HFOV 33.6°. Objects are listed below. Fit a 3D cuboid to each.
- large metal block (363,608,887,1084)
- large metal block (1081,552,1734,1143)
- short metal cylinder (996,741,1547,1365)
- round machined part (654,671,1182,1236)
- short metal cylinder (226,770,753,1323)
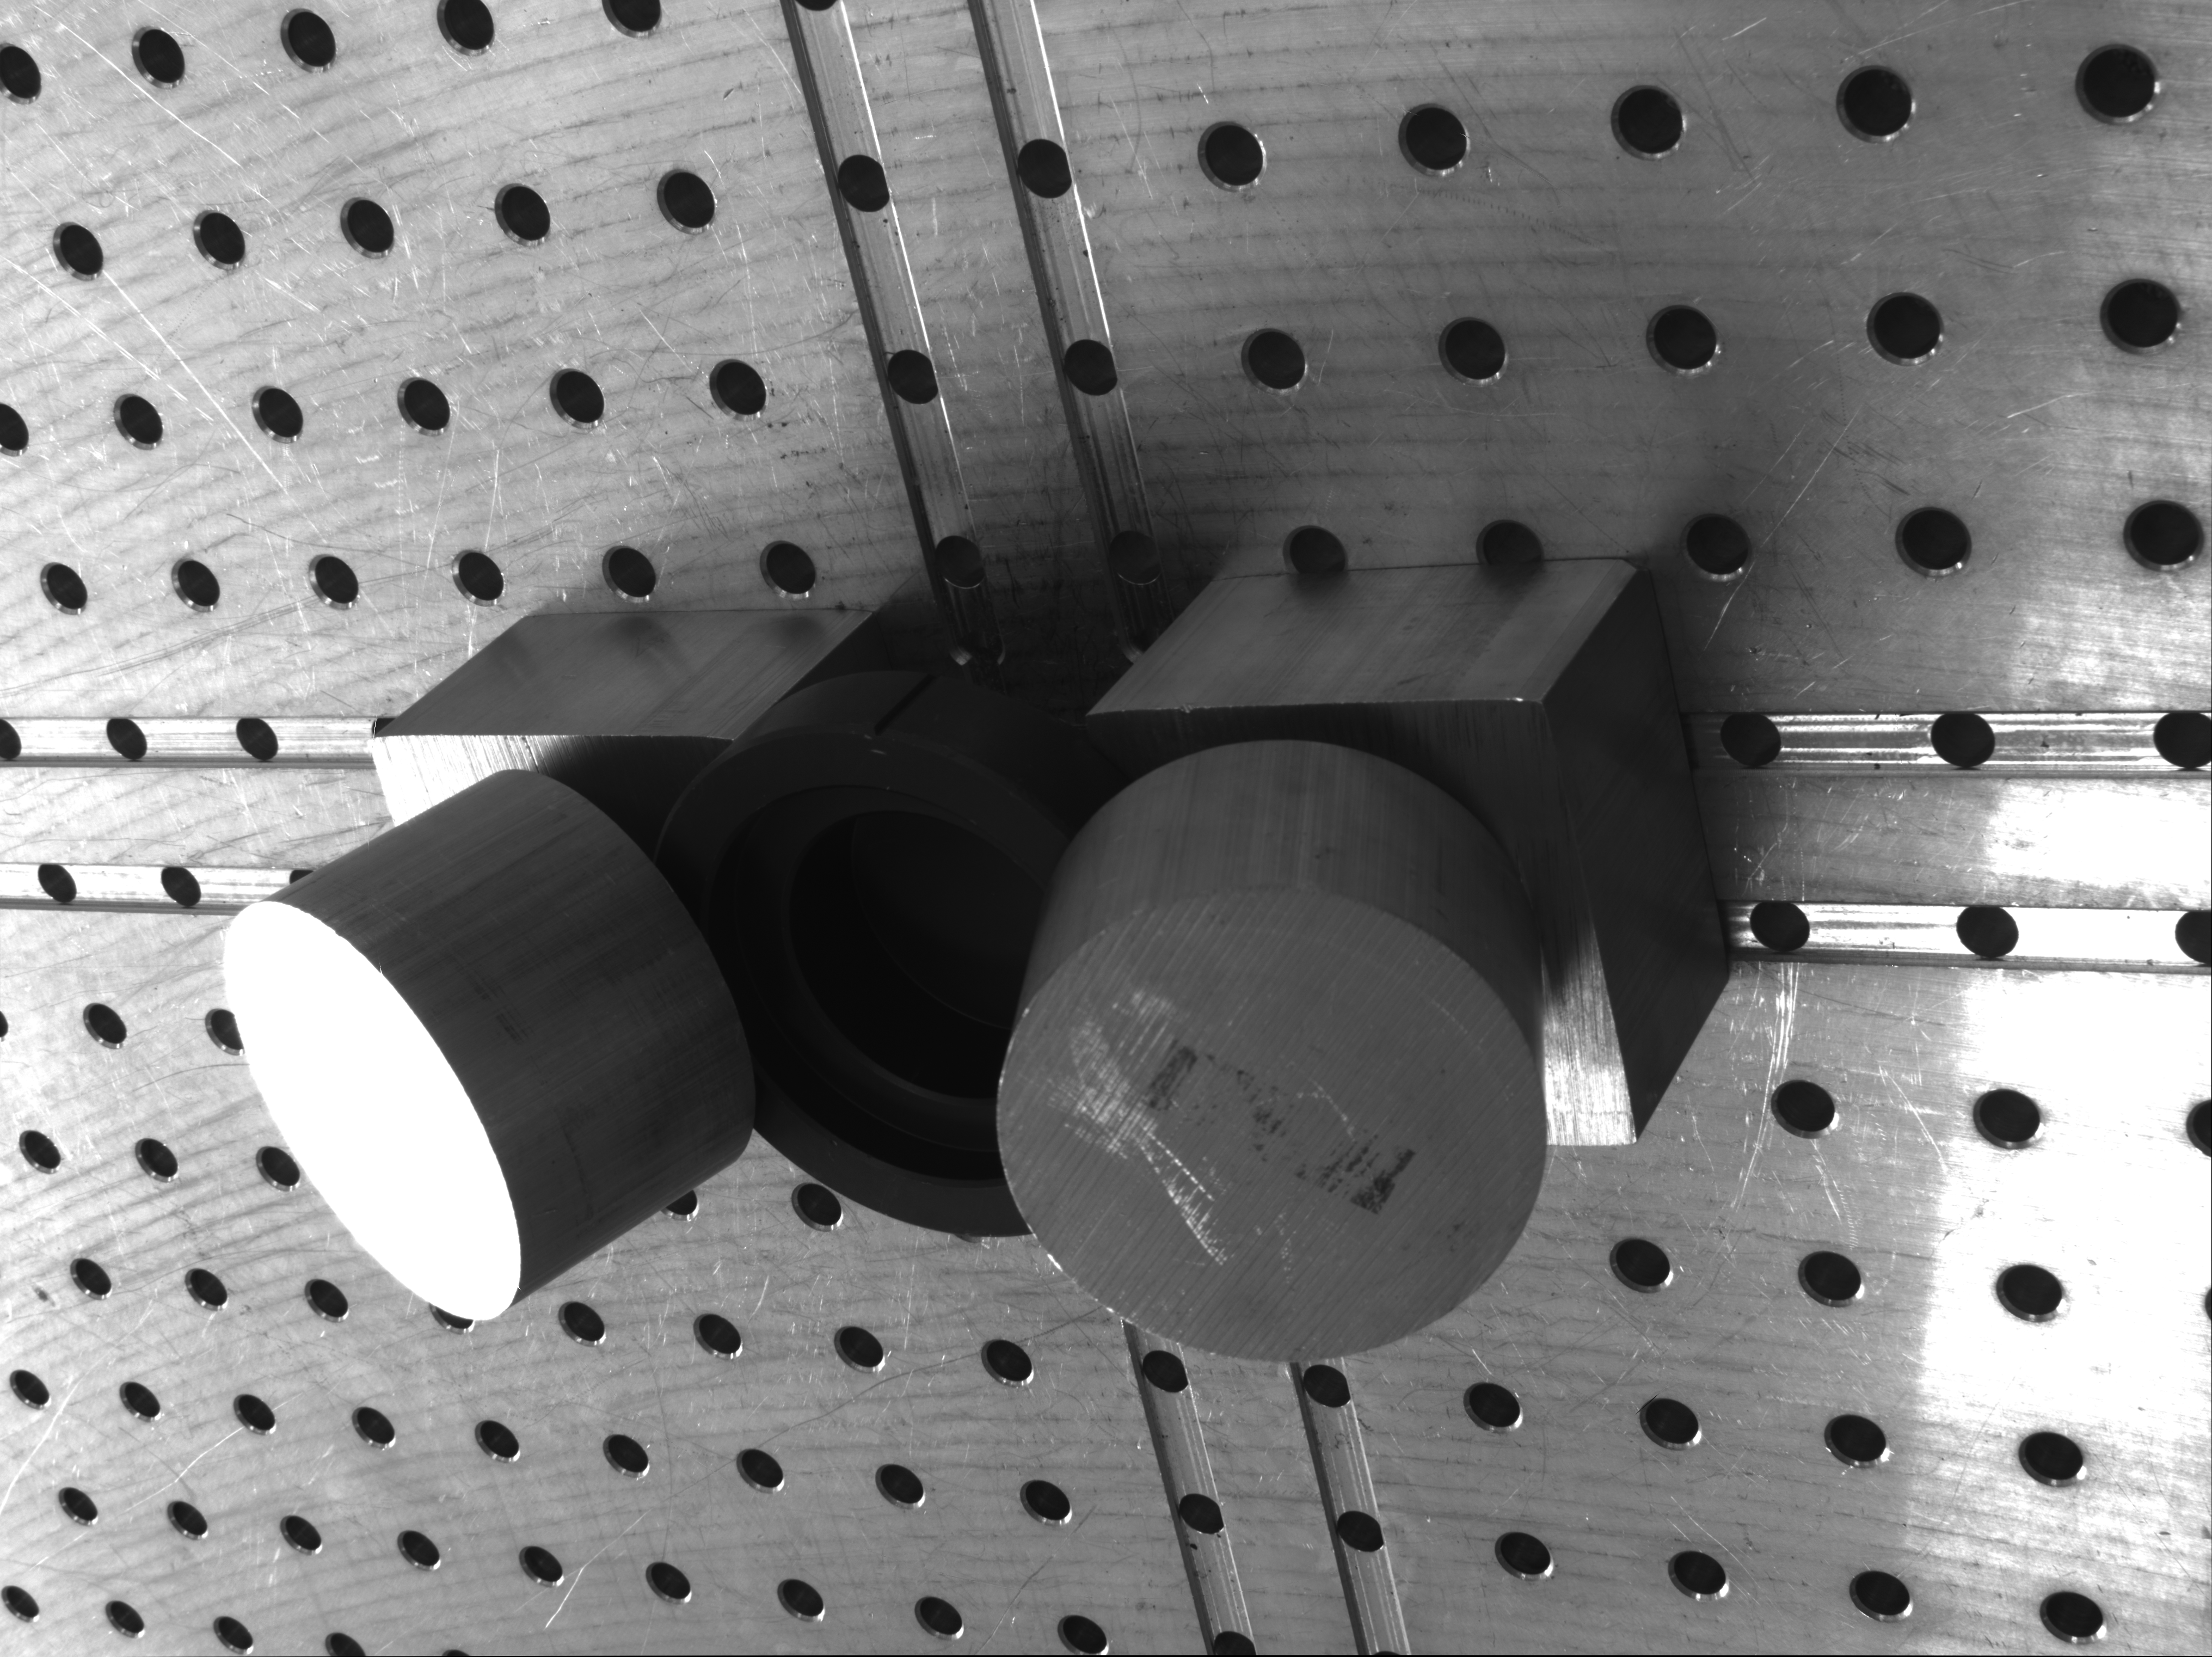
[{"bbox_3d":[-0.079,0.007,0.676,0.080,0.050,0.080,1,119,28],"label":"large metal block"},{"bbox_3d":[0.051,0.003,0.604,0.080,0.050,0.080,-1,118,29],"label":"large metal block"},{"bbox_3d":[0.026,0.034,0.554,0.080,0.050,0.080,2,116,5],"label":"short metal cylinder"},{"bbox_3d":[-0.025,0.017,0.620,0.098,0.042,0.098,13,124,21],"label":"round machined part"},{"bbox_3d":[-0.106,0.037,0.627,0.080,0.050,0.080,32,140,33],"label":"short metal cylinder"}]
